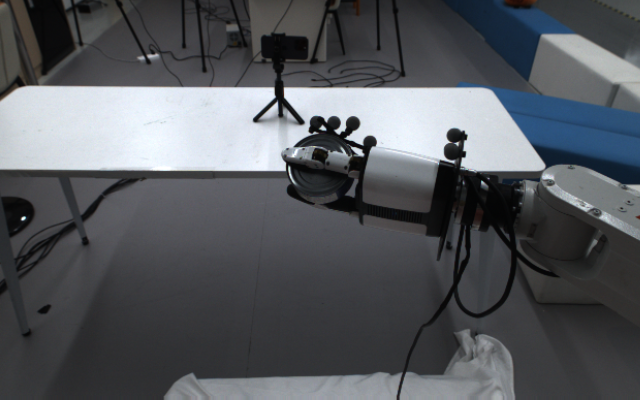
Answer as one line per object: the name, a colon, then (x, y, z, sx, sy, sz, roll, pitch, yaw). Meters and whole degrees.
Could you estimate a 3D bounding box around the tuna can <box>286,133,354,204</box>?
tuna can: (0.003, -0.041, 0.618, 0.085, 0.034, 0.085, -4, 67, 10)
